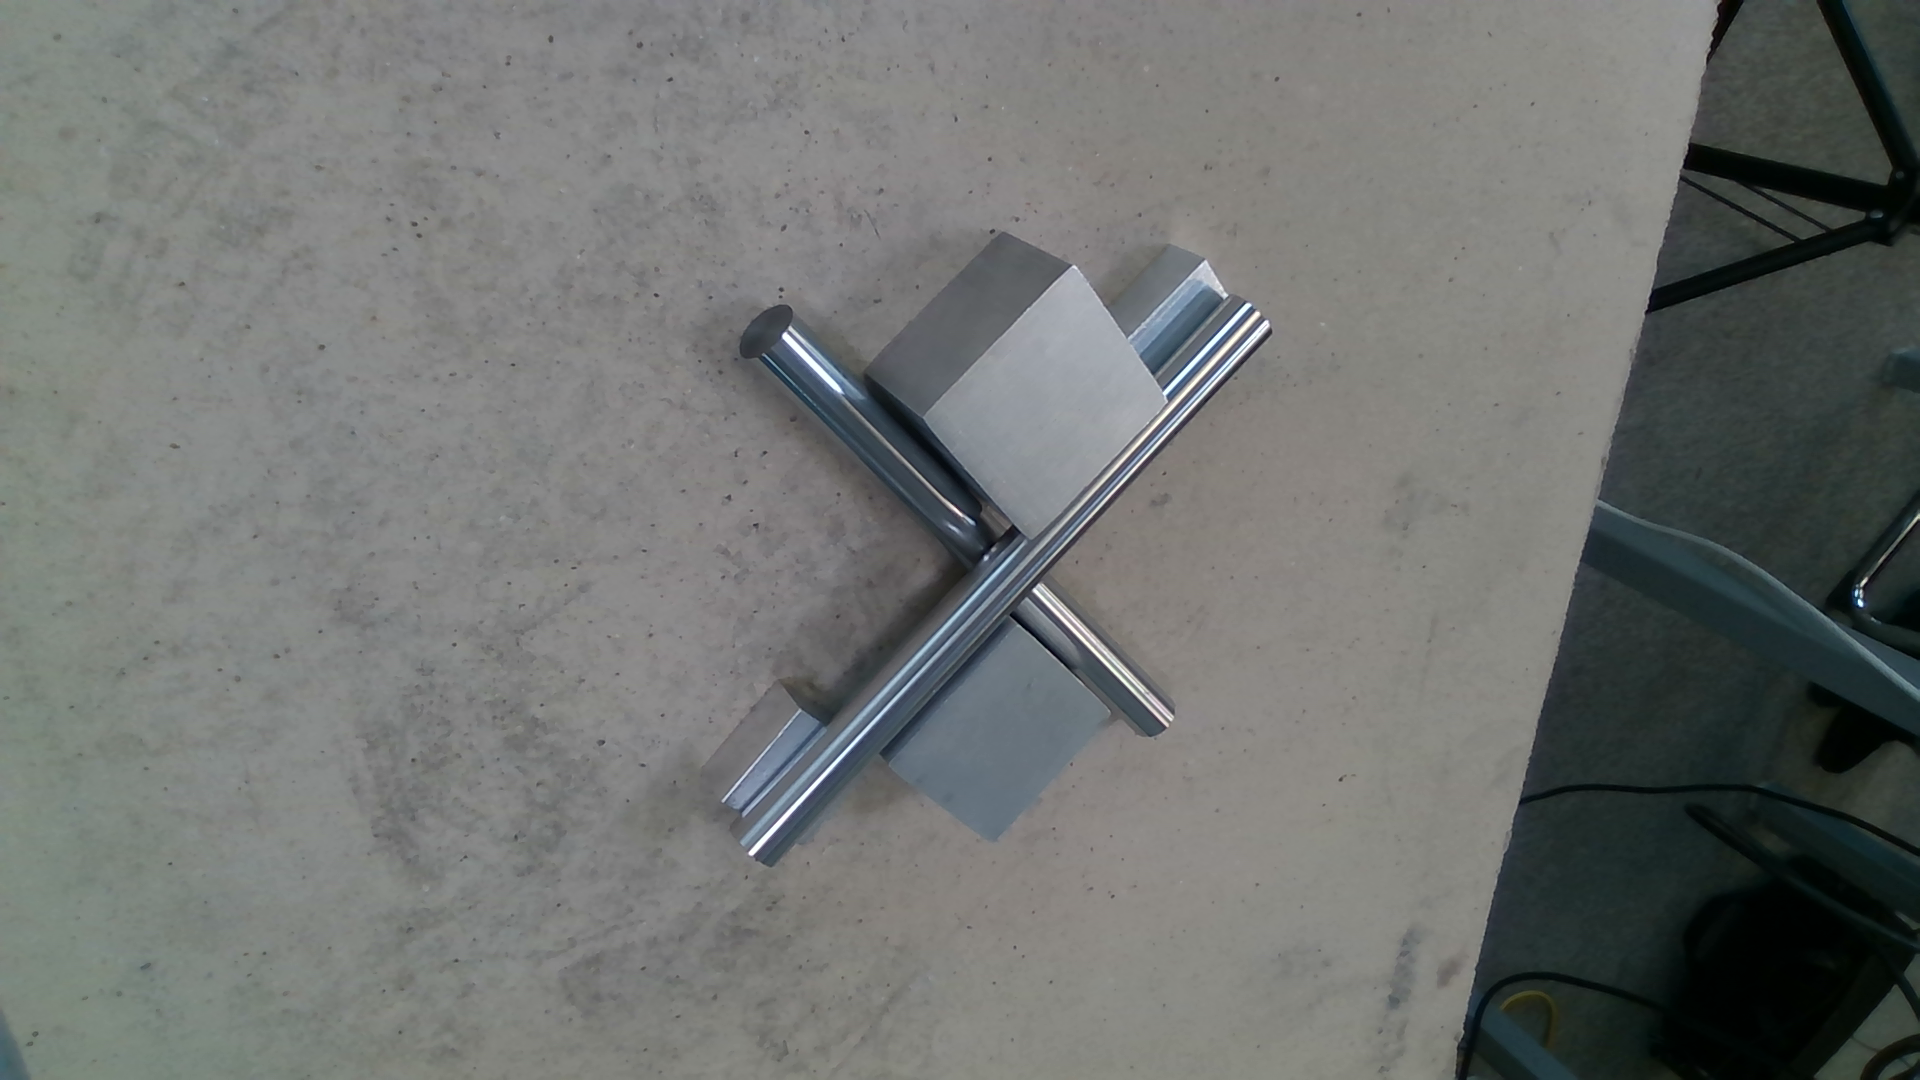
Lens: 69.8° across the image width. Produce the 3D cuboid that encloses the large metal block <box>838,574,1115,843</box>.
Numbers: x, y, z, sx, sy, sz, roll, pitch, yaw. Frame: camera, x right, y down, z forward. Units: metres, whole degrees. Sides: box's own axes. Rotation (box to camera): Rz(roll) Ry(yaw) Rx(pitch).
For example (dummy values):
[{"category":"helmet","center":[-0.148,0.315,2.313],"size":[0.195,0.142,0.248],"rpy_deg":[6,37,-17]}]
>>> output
[{"category":"large metal block","center":[0.008,0.074,0.610],"size":[0.080,0.050,0.080],"rpy_deg":[-47,129,-1]}]

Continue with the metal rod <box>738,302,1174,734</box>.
[{"category":"metal rod","center":[0.013,0.005,0.593],"size":[0.025,0.025,0.301],"rpy_deg":[-47,129,-1]}]

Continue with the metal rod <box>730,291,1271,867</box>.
[{"category":"metal rod","center":[0.017,0.015,0.567],"size":[0.300,0.025,0.025],"rpy_deg":[-47,129,-1]}]

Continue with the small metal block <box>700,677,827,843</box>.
[{"category":"small metal block","center":[-0.073,0.095,0.588],"size":[0.050,0.025,0.050],"rpy_deg":[-50,129,1]}]

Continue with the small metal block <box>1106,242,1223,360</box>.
[{"category":"small metal block","center":[0.090,-0.090,0.589],"size":[0.050,0.025,0.050],"rpy_deg":[-46,129,-2]}]

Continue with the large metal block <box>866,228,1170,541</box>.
[{"category":"large metal block","center":[0.023,-0.061,0.544],"size":[0.080,0.050,0.080],"rpy_deg":[-45,129,-3]}]
